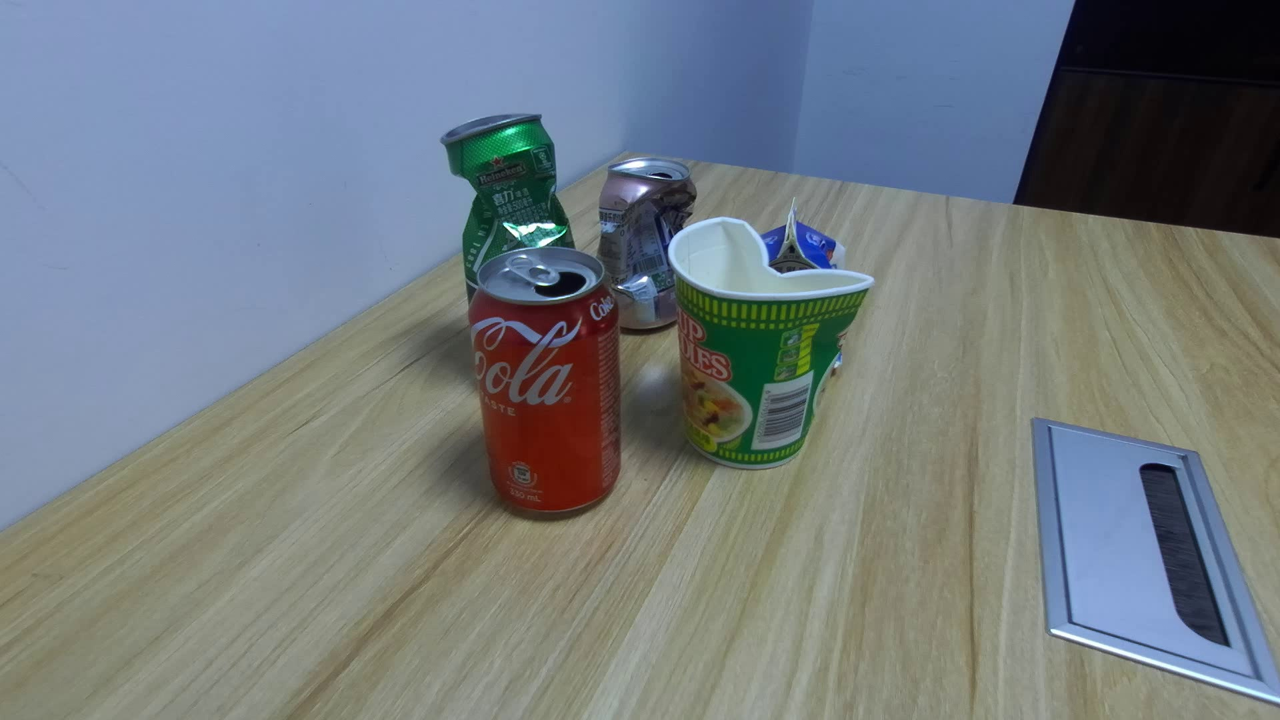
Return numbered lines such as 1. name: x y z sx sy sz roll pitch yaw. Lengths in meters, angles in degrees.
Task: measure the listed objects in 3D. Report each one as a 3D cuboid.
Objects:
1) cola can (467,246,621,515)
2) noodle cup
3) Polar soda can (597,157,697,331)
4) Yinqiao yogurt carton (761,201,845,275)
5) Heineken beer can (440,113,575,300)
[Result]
1. cola can: -0.044 0.015 0.345 0.068 0.120 0.068 -1 25 1
2. noodle cup: 0.055 -0.006 0.368 0.087 0.109 0.093 -9 34 -15
3. Polar soda can: 0.003 -0.078 0.483 0.070 0.114 0.074 0 30 -9
4. Yinqiao yogurt carton: 0.098 -0.051 0.458 0.071 0.094 0.077 2 32 14
5. Heineken beer can: -0.066 -0.055 0.403 0.078 0.159 0.067 5 25 23
